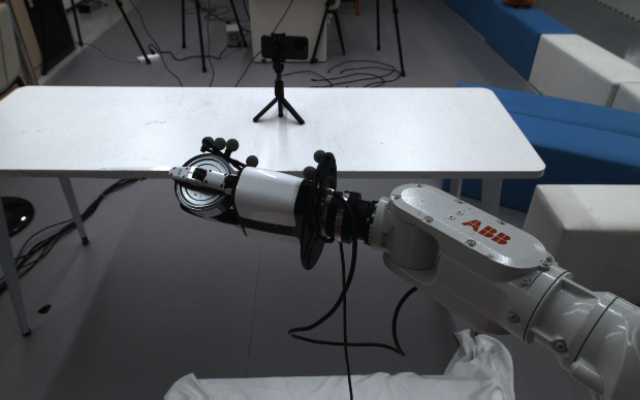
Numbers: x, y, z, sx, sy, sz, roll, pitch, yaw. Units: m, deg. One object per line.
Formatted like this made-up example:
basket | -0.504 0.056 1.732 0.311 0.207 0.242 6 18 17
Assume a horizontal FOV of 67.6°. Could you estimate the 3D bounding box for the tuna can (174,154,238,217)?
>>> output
tuna can | -0.156 -0.020 0.680 0.085 0.034 0.085 -4 67 10
